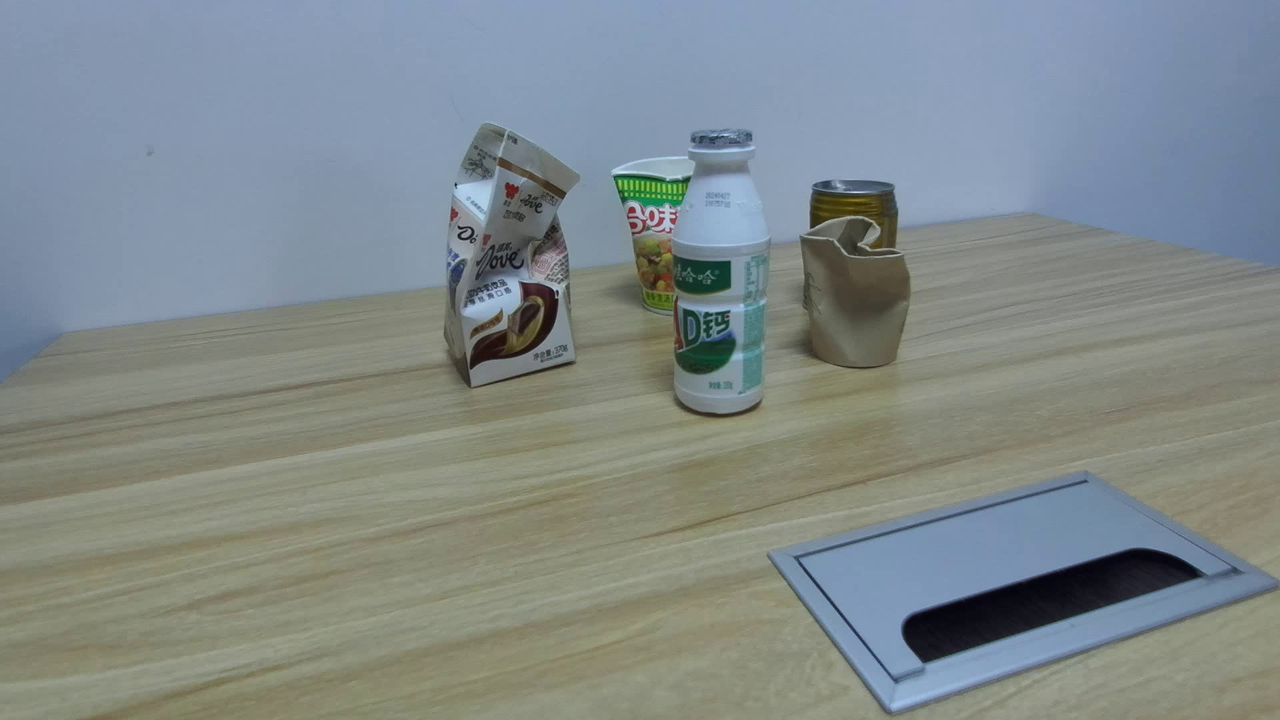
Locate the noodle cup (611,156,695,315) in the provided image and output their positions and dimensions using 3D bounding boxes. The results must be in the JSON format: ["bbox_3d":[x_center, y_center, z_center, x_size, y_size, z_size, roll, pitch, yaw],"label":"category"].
[{"bbox_3d":[0.037,-0.106,0.576,0.093,0.109,0.087,14,30,32],"label":"noodle cup"}]

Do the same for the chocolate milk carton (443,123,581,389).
[{"bbox_3d":[-0.081,-0.067,0.454,0.090,0.155,0.076,-1,23,-33],"label":"chocolate milk carton"}]

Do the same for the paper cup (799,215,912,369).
[{"bbox_3d":[0.139,-0.040,0.441,0.058,0.083,0.067,21,34,37],"label":"paper cup"}]

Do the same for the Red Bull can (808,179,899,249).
[{"bbox_3d":[0.160,-0.087,0.541,0.068,0.093,0.068,-1,23,1],"label":"Red Bull can"}]

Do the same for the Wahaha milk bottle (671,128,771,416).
[{"bbox_3d":[0.043,-0.045,0.379,0.053,0.147,0.053,-2,21,1],"label":"Wahaha milk bottle"}]
